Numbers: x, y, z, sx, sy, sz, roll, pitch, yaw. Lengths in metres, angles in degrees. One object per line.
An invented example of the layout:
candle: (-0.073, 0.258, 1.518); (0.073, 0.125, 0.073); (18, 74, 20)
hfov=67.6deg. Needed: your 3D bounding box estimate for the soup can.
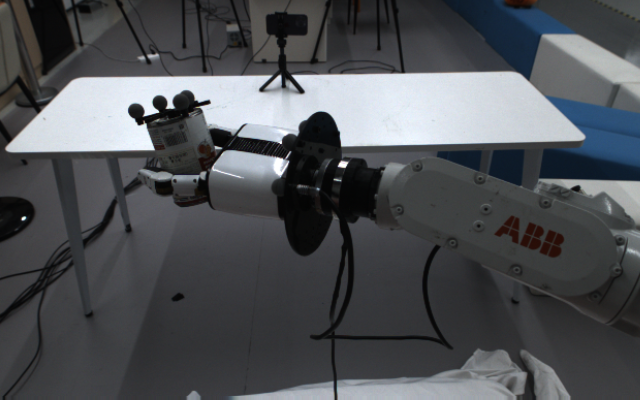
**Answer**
soup can: (-0.155, -0.050, 0.573); (0.067, 0.101, 0.067); (-13, 20, 5)
